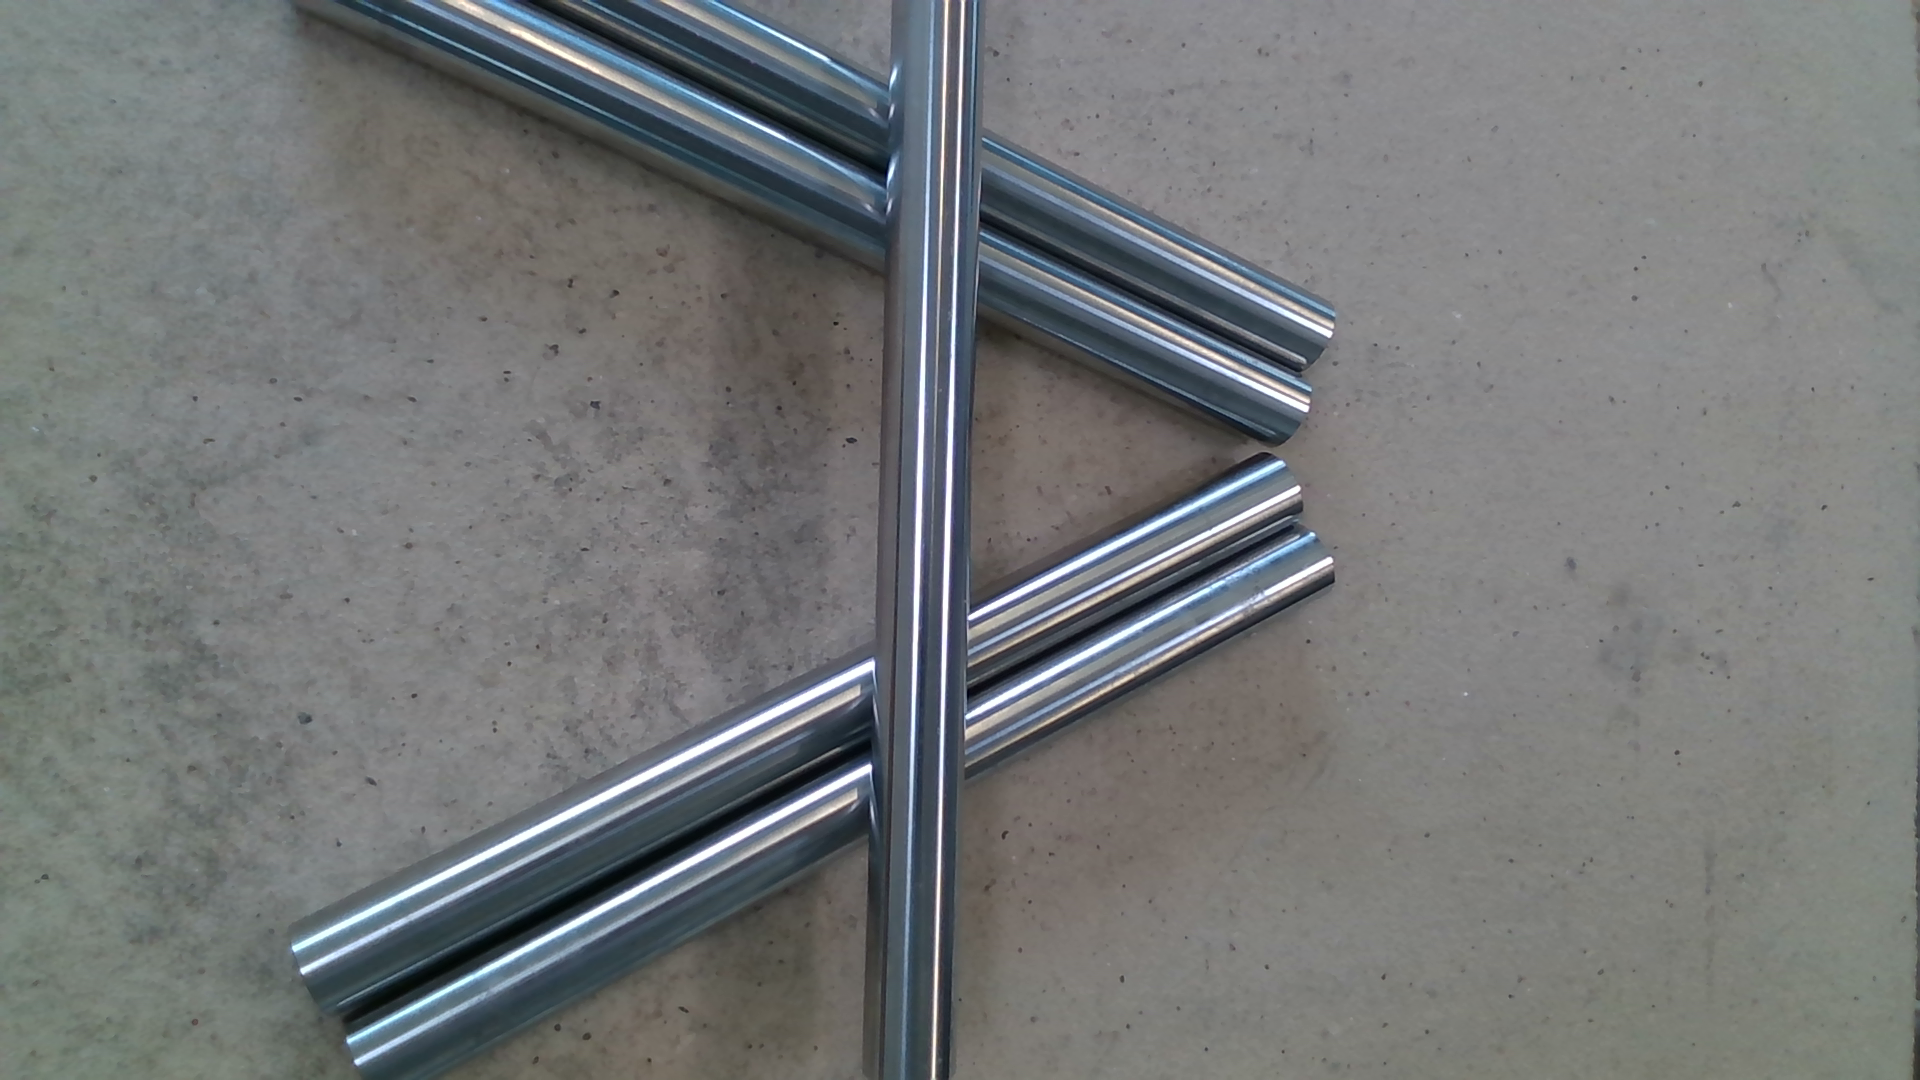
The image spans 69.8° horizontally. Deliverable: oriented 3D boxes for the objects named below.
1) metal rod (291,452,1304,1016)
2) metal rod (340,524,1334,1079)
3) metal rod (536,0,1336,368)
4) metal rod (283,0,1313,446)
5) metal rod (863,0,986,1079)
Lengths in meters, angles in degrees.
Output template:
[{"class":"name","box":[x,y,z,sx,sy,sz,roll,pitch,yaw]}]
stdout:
[{"class":"metal rod","box":[-0.029,0.044,0.384,0.300,0.025,0.025,-25,98,-18]},{"class":"metal rod","box":[-0.019,0.066,0.388,0.300,0.025,0.025,-25,98,-18]},{"class":"metal rod","box":[-0.022,-0.116,0.385,0.300,0.025,0.025,21,83,-19]},{"class":"metal rod","box":[-0.030,-0.092,0.383,0.300,0.025,0.025,21,83,-19]},{"class":"metal rod","box":[-0.009,-0.011,0.364,0.025,0.025,0.300,2,90,-20]}]
